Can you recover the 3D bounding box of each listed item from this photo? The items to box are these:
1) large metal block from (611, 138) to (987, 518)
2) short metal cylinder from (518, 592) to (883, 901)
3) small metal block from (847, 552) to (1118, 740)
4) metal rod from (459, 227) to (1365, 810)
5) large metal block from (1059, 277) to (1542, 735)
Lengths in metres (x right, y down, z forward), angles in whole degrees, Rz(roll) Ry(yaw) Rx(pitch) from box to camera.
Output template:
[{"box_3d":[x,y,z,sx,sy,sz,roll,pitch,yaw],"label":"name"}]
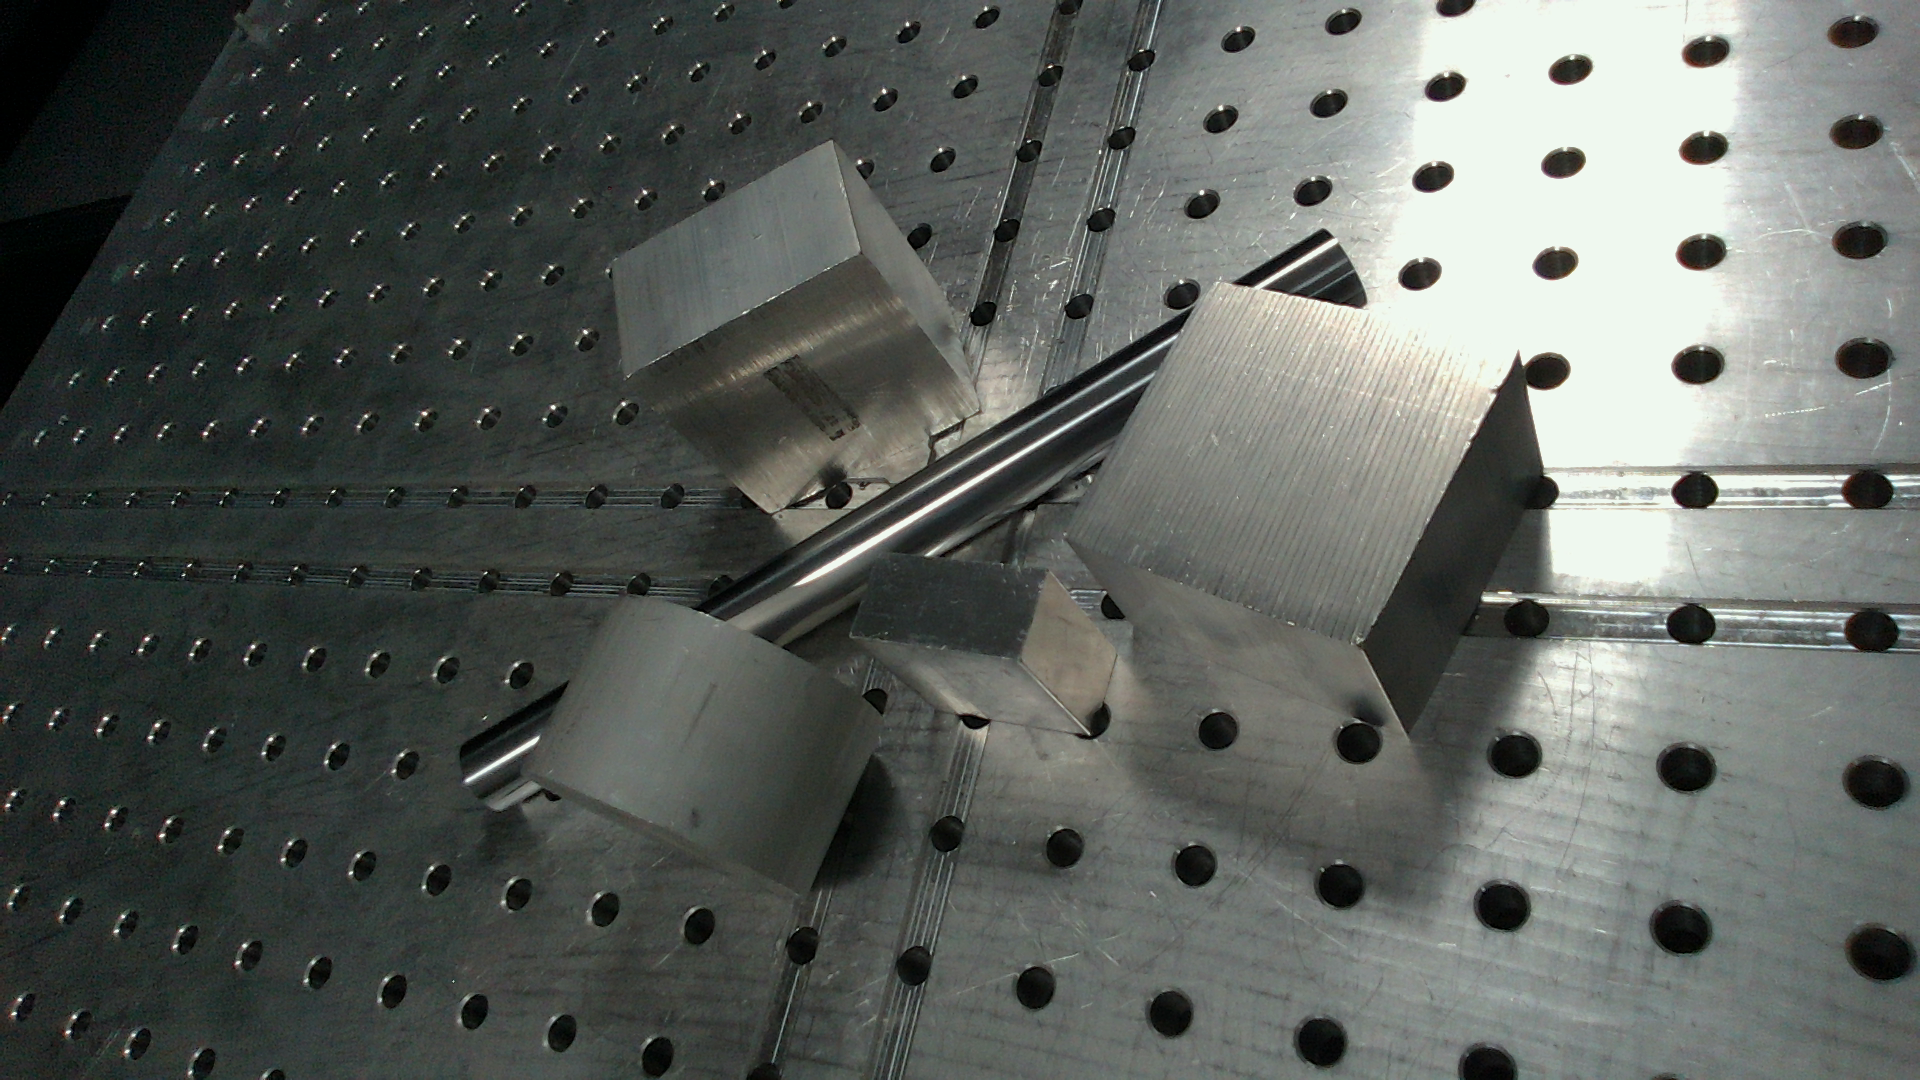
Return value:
[{"box_3d":[-0.049,-0.063,0.427,0.080,0.080,0.050,-26,52,13],"label":"large metal block"},{"box_3d":[-0.067,0.055,0.363,0.080,0.080,0.050,12,68,34],"label":"short metal cylinder"},{"box_3d":[0.007,0.028,0.360,0.050,0.050,0.025,5,64,31],"label":"small metal block"},{"box_3d":[-0.021,-0.002,0.408,0.300,0.025,0.025,-30,51,9],"label":"metal rod"},{"box_3d":[0.085,-0.011,0.338,0.080,0.050,0.080,21,73,36],"label":"large metal block"}]
